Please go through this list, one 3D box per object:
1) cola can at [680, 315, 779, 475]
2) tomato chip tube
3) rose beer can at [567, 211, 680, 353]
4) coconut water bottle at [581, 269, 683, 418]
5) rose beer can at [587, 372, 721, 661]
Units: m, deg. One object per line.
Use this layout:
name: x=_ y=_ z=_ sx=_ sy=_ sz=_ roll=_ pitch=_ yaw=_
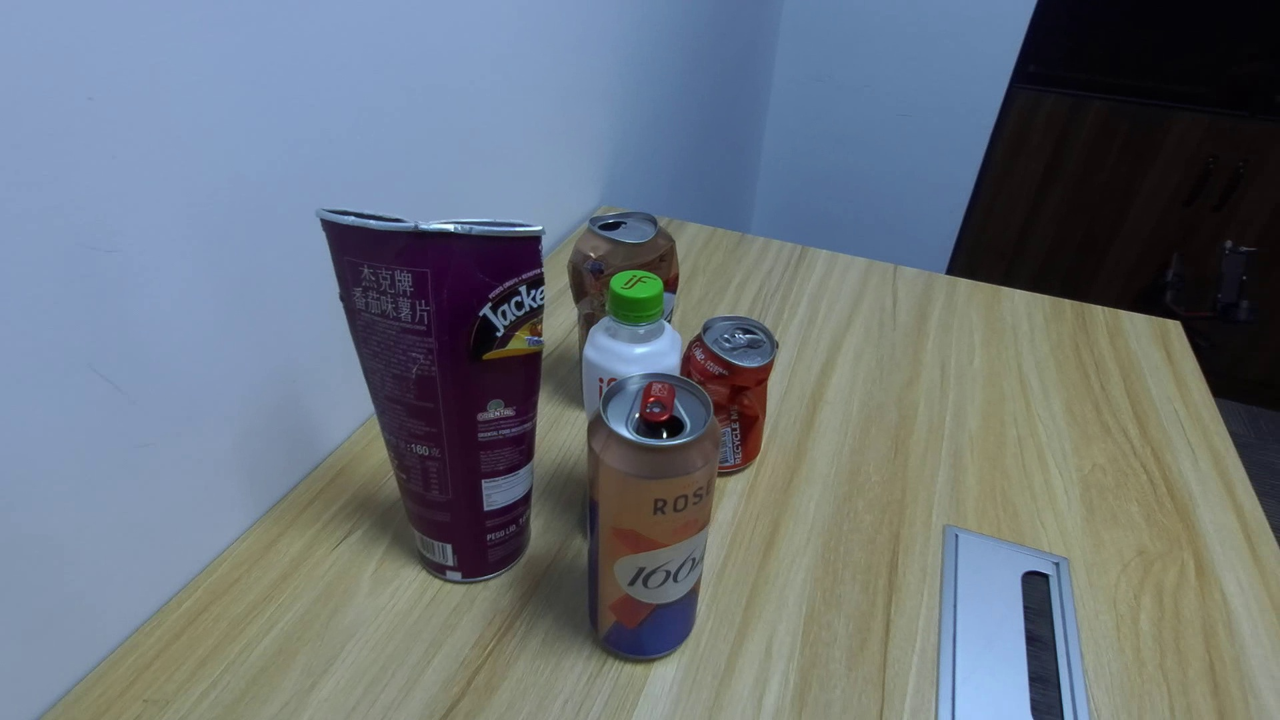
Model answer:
cola can: x=0.063 y=0.027 z=0.526 sx=0.069 sy=0.112 sz=0.065 roll=7 pitch=35 yaw=4
tomato chip tube: x=-0.105 y=0.027 z=0.411 sx=0.078 sy=0.236 sz=0.089 roll=-28 pitch=44 yaw=-36
rose beer can: x=-0.015 y=-0.035 z=0.560 sx=0.068 sy=0.162 sz=0.074 roll=20 pitch=38 yaw=21
coconut water bottle: x=-0.007 y=0.035 z=0.443 sx=0.063 sy=0.189 sz=0.063 roll=2 pitch=34 yaw=-1
rose beer can: x=0.006 y=0.091 z=0.388 sx=0.069 sy=0.169 sz=0.068 roll=3 pitch=36 yaw=-2
